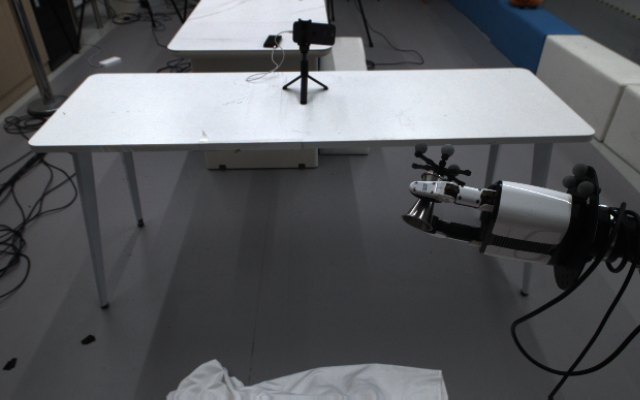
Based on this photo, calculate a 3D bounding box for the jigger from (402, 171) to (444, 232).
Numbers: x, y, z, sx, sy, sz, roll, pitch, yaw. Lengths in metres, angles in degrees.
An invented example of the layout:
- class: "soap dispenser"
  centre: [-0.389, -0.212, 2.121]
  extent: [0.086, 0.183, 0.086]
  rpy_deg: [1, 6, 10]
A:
- class: "jigger"
  centre: [0.142, -0.001, 0.648]
  extent: [0.043, 0.043, 0.071]
  rpy_deg: [20, 73, 24]
